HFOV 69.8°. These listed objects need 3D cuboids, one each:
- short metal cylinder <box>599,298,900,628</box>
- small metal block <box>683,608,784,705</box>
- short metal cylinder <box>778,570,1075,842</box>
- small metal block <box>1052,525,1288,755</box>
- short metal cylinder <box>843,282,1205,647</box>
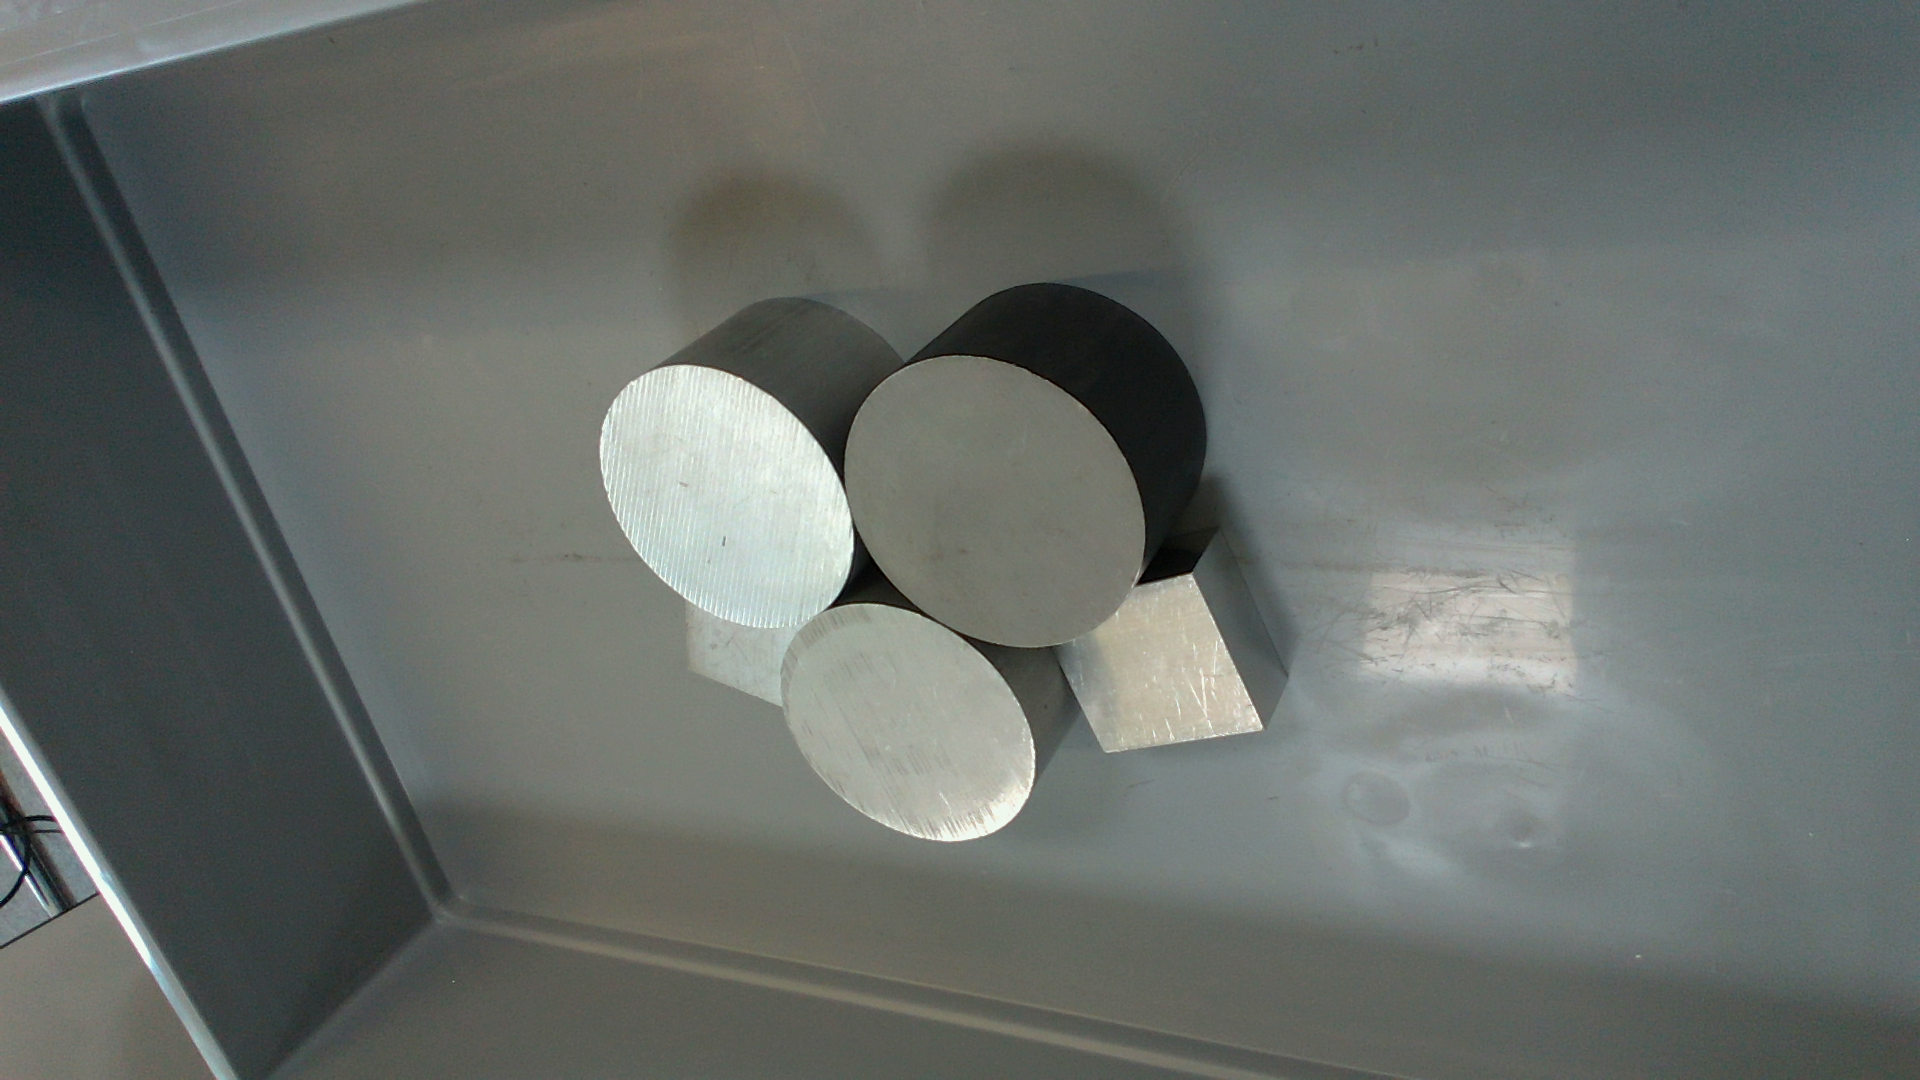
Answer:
[{"bbox_3d":[-0.054,-0.022,0.390,0.080,0.050,0.080,13,124,21],"label":"short metal cylinder"},{"bbox_3d":[-0.060,0.023,0.438,0.050,0.025,0.050,19,126,17],"label":"small metal block"},{"bbox_3d":[-0.006,0.041,0.403,0.080,0.050,0.080,13,124,21],"label":"short metal cylinder"},{"bbox_3d":[0.055,0.029,0.380,0.050,0.025,0.050,-15,111,34],"label":"small metal block"},{"bbox_3d":[0.017,-0.020,0.354,0.080,0.050,0.080,13,124,21],"label":"short metal cylinder"}]
